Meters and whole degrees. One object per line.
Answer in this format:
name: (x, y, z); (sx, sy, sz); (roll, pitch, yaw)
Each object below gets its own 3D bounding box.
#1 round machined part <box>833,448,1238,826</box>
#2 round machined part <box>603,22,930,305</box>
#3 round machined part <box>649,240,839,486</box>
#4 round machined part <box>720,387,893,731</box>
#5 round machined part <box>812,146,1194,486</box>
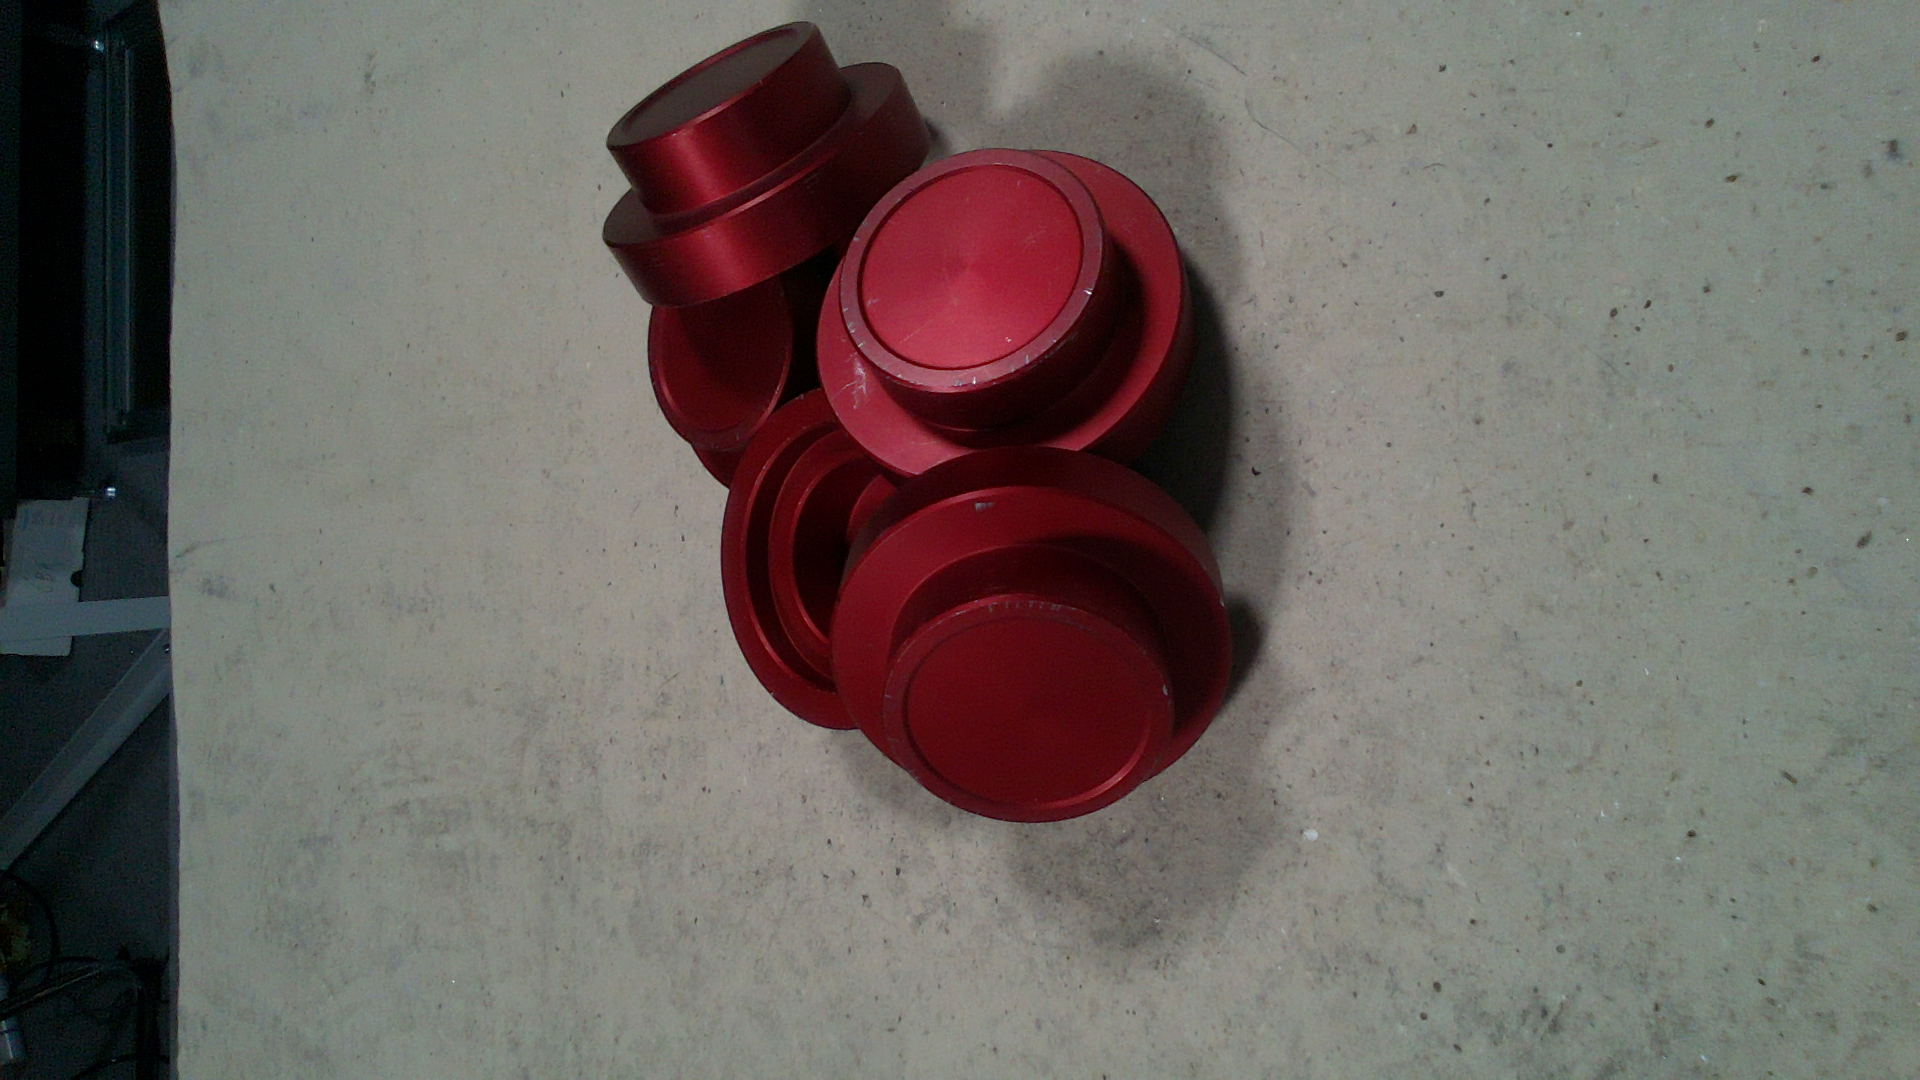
round machined part: (0.018, 0.030, 0.333); (0.098, 0.098, 0.042); (-51, 19, 28)
round machined part: (-0.061, -0.113, 0.397); (0.098, 0.098, 0.042); (1, 132, 40)
round machined part: (-0.061, -0.062, 0.437); (0.098, 0.042, 0.098); (0, 90, 40)
round machined part: (-0.023, 0.005, 0.403); (0.098, 0.042, 0.098); (0, 90, 40)
round machined part: (0.008, -0.059, 0.349); (0.098, 0.042, 0.098); (-6, 66, 15)
